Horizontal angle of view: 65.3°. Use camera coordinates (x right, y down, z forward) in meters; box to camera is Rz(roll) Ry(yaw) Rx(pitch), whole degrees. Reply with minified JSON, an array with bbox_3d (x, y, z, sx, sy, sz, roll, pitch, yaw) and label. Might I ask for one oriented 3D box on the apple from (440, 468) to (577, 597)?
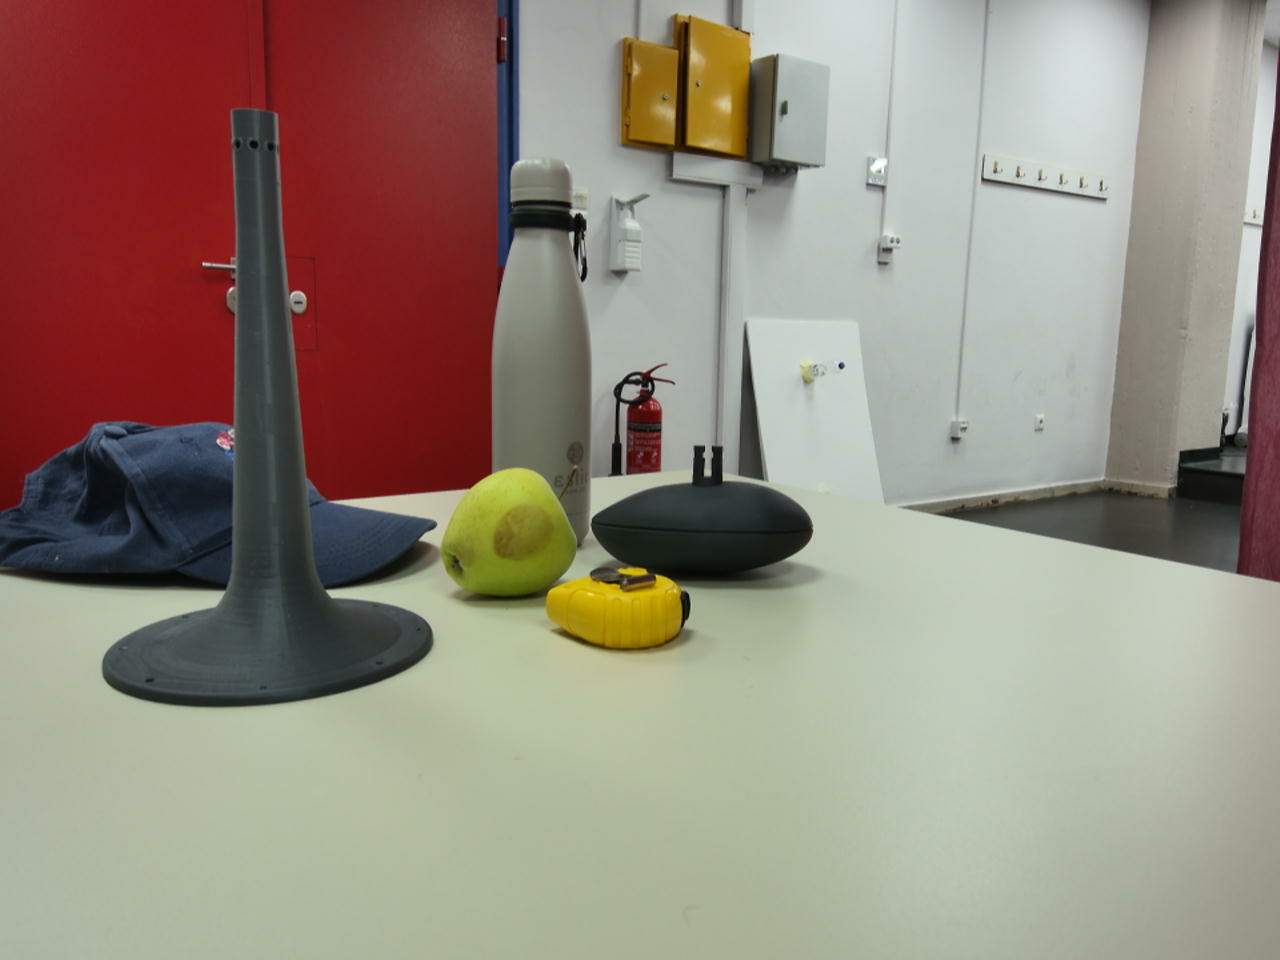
[{"bbox_3d":[-0.077,0.031,0.602,0.077,0.075,0.072,1,8,8],"label":"apple"}]
